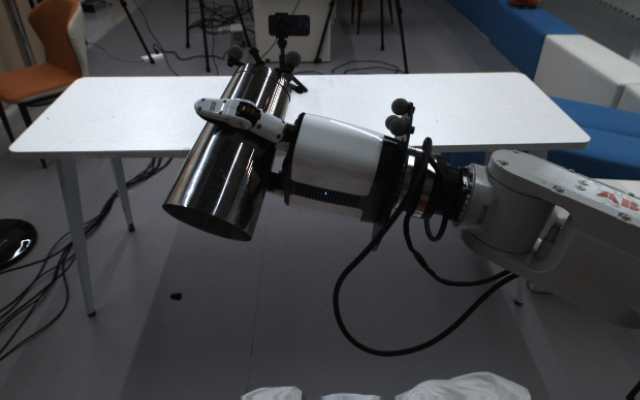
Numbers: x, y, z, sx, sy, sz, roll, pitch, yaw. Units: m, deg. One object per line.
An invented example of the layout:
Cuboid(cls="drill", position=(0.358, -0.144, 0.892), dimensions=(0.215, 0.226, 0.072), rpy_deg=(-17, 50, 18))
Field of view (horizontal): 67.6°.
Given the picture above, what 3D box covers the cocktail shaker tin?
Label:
Cuboid(cls="cocktail shaker tin", position=(-0.087, -0.053, 0.502), dimensions=(0.093, 0.093, 0.170), rpy_deg=(13, 70, 15))
